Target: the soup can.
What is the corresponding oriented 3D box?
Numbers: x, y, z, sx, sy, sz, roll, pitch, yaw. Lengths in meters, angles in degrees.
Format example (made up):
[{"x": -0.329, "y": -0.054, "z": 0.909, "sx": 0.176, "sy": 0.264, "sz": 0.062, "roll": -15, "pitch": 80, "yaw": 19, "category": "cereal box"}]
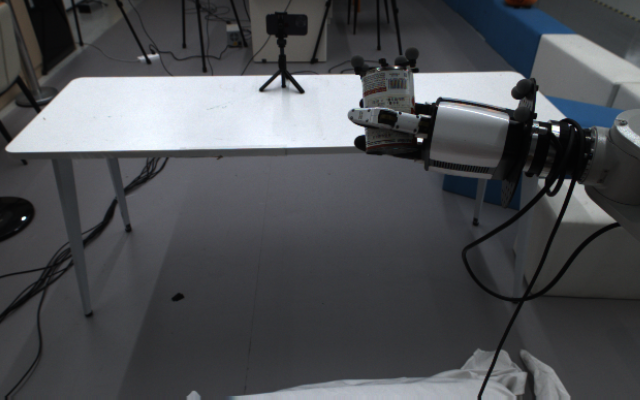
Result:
[{"x": 0.091, "y": -0.112, "z": 0.621, "sx": 0.067, "sy": 0.101, "sz": 0.067, "roll": -3, "pitch": -1, "yaw": 0, "category": "soup can"}]
